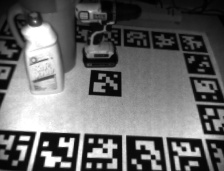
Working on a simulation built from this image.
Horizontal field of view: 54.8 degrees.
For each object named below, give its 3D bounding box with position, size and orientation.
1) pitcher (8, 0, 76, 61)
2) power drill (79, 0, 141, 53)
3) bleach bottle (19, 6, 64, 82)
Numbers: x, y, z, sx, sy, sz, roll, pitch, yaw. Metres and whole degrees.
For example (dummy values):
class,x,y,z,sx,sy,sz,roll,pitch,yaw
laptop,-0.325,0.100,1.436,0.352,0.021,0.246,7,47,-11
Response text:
class,x,y,z,sx,sy,sz,roll,pitch,yaw
pitcher,-0.177,-0.178,0.629,0.190,0.243,0.132,-21,62,-18
power drill,-0.010,-0.180,0.662,0.186,0.187,0.057,1,59,-12
bleach bottle,-0.188,-0.106,0.555,0.103,0.251,0.067,-5,57,-7
